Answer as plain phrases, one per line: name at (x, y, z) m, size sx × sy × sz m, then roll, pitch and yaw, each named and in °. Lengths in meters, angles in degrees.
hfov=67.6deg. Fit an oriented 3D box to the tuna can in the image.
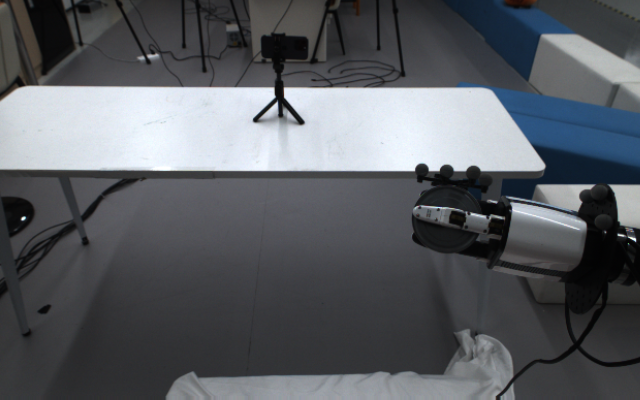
tuna can at (0.161, 0.021, 0.613) m, size 0.085 × 0.085 × 0.034 m, roll 11°, pitch -7°, yaw 12°
